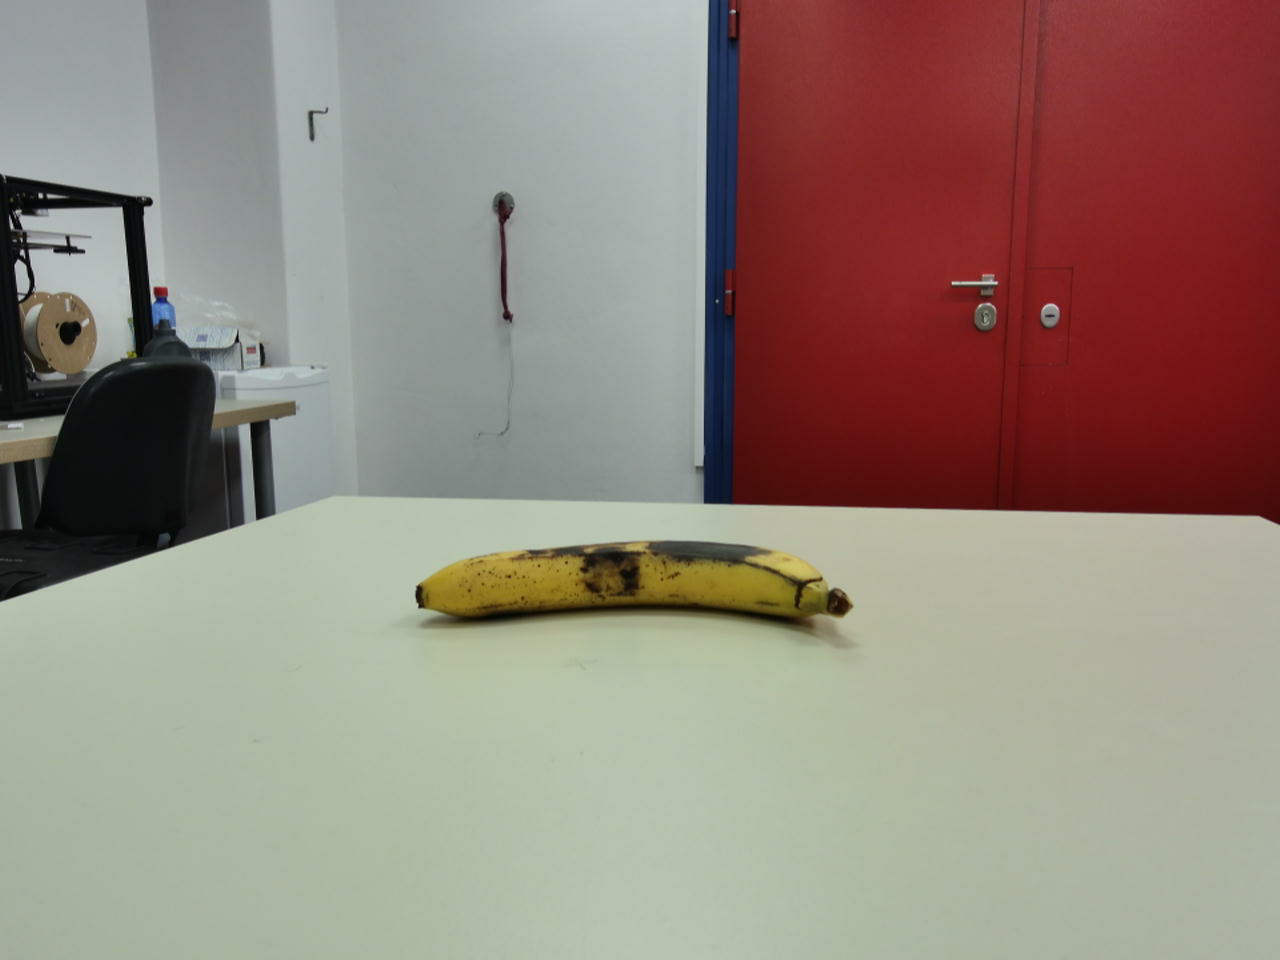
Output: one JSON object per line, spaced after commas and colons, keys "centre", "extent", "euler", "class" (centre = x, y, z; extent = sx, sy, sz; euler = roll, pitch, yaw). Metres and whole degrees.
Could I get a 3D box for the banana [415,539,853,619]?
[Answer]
{"centre": [-0.001, 0.054, 0.529], "extent": [0.222, 0.037, 0.084], "euler": [1, 6, 12], "class": "banana"}
